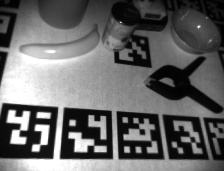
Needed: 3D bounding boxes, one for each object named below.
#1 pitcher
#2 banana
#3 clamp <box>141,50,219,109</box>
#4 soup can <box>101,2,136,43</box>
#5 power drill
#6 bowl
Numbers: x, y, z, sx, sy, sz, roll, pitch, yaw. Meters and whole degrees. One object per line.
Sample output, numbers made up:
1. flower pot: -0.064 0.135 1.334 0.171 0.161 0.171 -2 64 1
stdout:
1. pitcher: -0.083 -0.262 0.460 0.190 0.242 0.132 -17 67 -23
2. banana: -0.113 -0.117 0.501 0.199 0.039 0.073 -18 63 -25
3. clamp: 0.172 -0.026 0.536 0.204 0.036 0.165 5 68 -15
4. soup can: 0.016 -0.162 0.525 0.068 0.102 0.067 8 54 -11
5. power drill: 0.146 -0.263 0.542 0.186 0.186 0.057 2 64 -16
6. bowl: 0.231 -0.162 0.617 0.163 0.055 0.161 7 65 -14
